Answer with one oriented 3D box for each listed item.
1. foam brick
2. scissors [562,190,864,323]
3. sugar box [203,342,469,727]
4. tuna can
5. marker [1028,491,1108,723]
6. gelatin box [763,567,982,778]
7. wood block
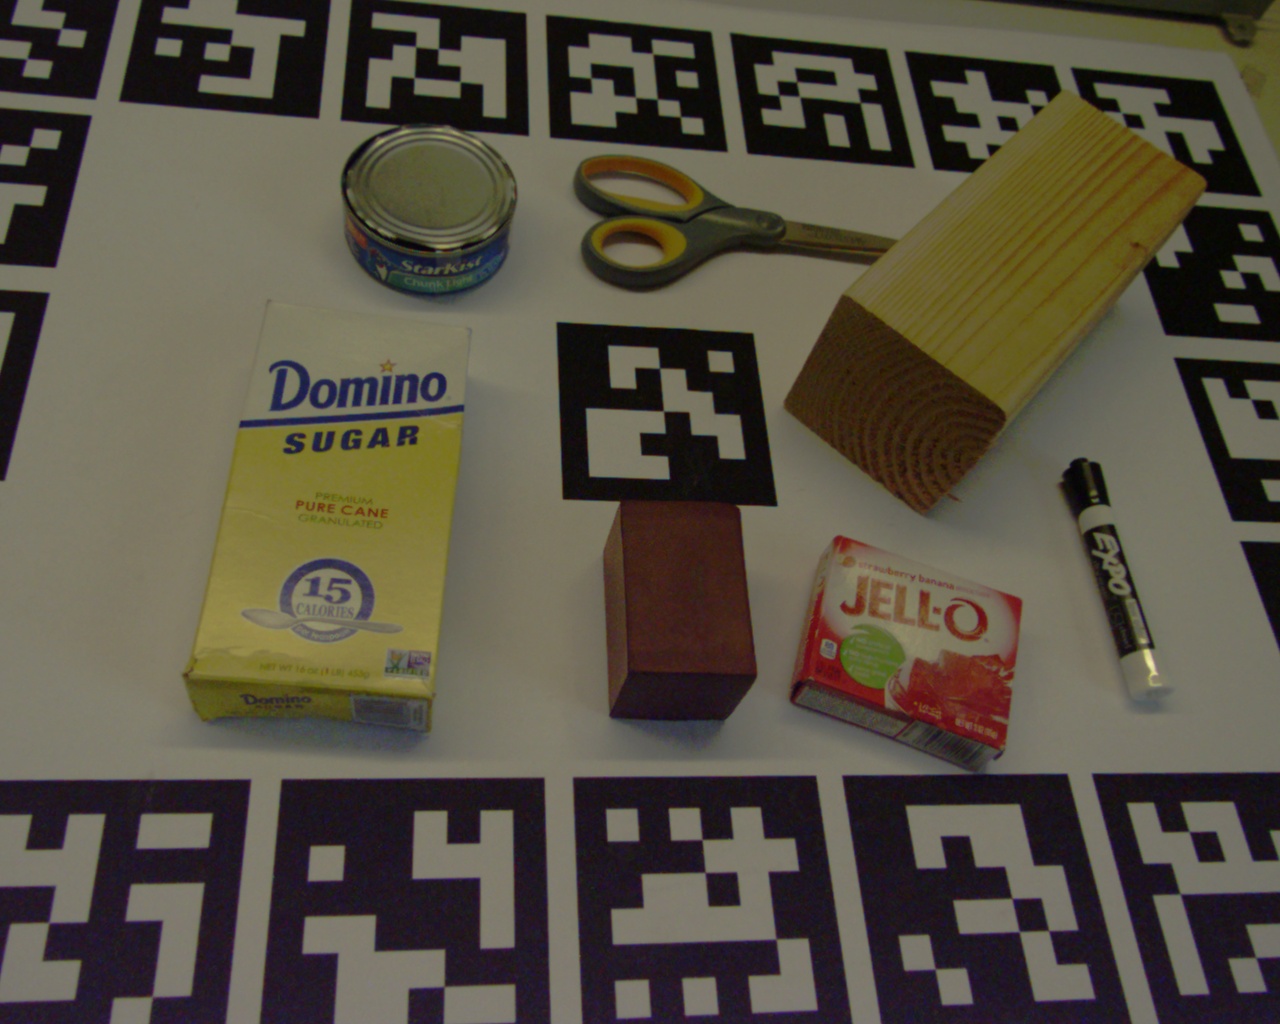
[{"bbox_3d":[0.010,0.055,0.513,0.052,0.051,0.078,4,62,-8],"label":"foam brick"},{"bbox_3d":[0.053,-0.136,0.648,0.202,0.016,0.088,8,61,-3],"label":"scissors"},{"bbox_3d":[-0.133,0.007,0.523,0.092,0.045,0.177,7,61,-8],"label":"sugar box"},{"bbox_3d":[-0.115,-0.141,0.608,0.085,0.034,0.086,4,62,-8],"label":"tuna can"},{"bbox_3d":[0.215,0.045,0.574,0.019,0.020,0.121,4,64,-9],"label":"marker"},{"bbox_3d":[0.109,0.074,0.536,0.089,0.030,0.073,19,61,1],"label":"gelatin box"},{"bbox_3d":[0.177,-0.090,0.606,0.090,0.091,0.205,41,62,13],"label":"wood block"}]
